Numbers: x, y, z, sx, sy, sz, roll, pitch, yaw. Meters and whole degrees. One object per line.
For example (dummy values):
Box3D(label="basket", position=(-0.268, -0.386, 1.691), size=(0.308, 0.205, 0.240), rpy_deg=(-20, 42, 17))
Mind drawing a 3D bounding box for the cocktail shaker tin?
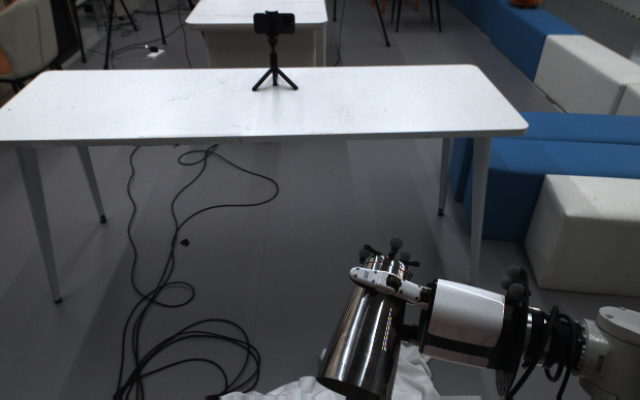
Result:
Box3D(label="cocktail shaker tin", position=(0.066, 0.158, 0.621), size=(0.093, 0.093, 0.170), rpy_deg=(13, 60, 15))
